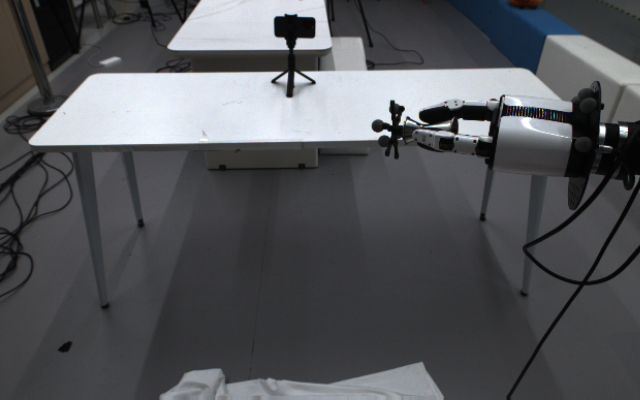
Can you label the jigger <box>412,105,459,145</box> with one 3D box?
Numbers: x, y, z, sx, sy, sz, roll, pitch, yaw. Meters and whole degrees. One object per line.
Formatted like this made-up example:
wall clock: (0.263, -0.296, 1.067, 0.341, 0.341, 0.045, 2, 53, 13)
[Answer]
jigger: (0.159, -0.101, 0.672, 0.071, 0.043, 0.043, 5, 33, 27)
